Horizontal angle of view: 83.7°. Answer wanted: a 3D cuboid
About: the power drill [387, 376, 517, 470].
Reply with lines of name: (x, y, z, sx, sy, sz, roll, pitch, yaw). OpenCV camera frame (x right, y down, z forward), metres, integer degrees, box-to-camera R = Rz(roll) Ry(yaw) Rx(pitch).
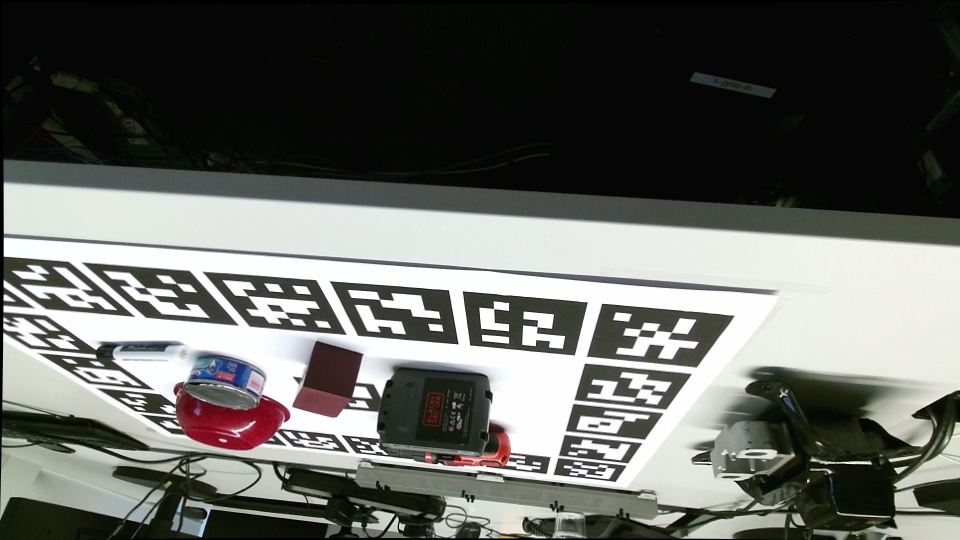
power drill: (-0.047, 0.190, 0.644, 0.185, 0.057, 0.187, 6, 147, 10)

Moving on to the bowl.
bowl: (-0.350, 0.209, 0.746, 0.162, 0.055, 0.162, 3, 151, 2)

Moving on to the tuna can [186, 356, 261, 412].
tuna can: (-0.307, 0.136, 0.635, 0.086, 0.033, 0.086, 8, 145, 6)

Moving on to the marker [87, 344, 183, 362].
marker: (-0.394, 0.094, 0.606, 0.121, 0.019, 0.020, -2, 142, 15)

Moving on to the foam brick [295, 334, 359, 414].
foam brick: (-0.167, 0.112, 0.569, 0.051, 0.052, 0.078, 20, 142, -12)
